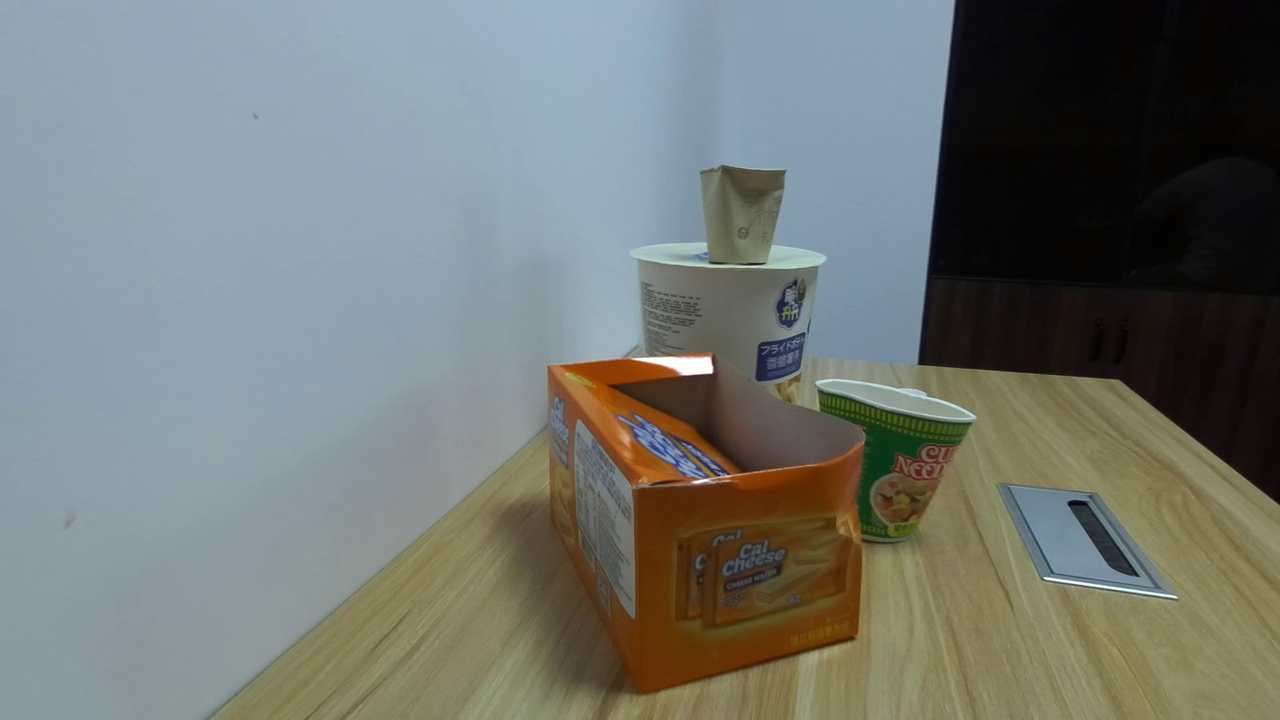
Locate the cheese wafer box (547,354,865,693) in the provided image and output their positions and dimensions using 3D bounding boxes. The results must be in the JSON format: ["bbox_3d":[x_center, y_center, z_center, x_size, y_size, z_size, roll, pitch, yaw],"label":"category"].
[{"bbox_3d":[0.035,0.090,0.482,0.153,0.132,0.229,-4,16,-19],"label":"cheese wafer box"}]

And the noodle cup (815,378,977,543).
[{"bbox_3d":[0.186,0.076,0.551,0.070,0.111,0.114,-9,20,-24],"label":"noodle cup"}]

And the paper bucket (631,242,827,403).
[{"bbox_3d":[0.081,-0.010,0.706,0.198,0.194,0.198,2,16,0],"label":"paper bucket"}]

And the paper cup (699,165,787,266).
[{"bbox_3d":[0.091,-0.130,0.632,0.066,0.084,0.071,-3,13,-14],"label":"paper cup"}]
